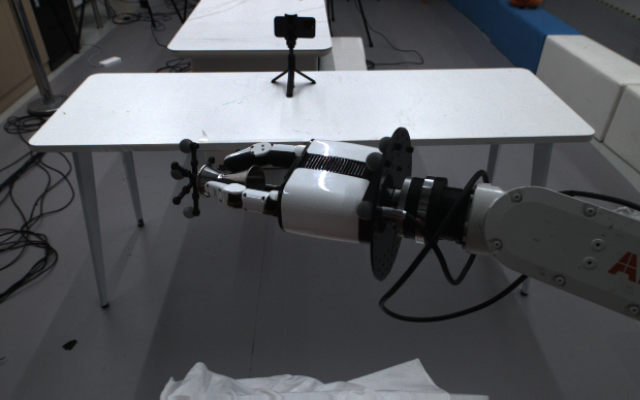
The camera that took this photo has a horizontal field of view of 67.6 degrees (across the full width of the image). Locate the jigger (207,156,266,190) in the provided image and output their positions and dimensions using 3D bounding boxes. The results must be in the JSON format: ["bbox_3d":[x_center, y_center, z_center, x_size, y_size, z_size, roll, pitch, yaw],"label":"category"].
[{"bbox_3d":[-0.098,-0.023,0.567,0.071,0.043,0.043,5,33,22],"label":"jigger"}]
